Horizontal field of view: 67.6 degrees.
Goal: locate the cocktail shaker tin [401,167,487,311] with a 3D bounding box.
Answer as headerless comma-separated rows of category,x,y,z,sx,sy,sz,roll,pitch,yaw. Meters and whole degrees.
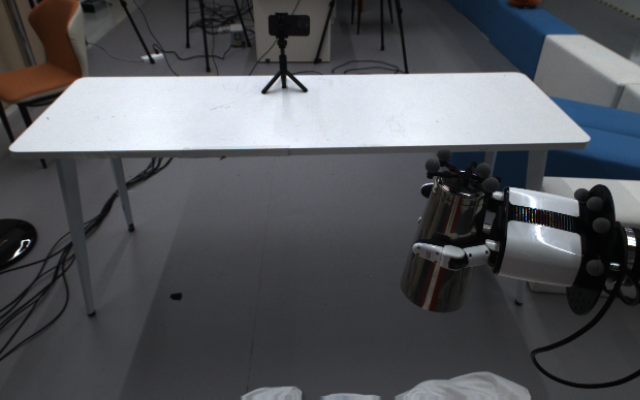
cocktail shaker tin,0.165,0.050,0.624,0.093,0.170,0.093,4,32,-2
